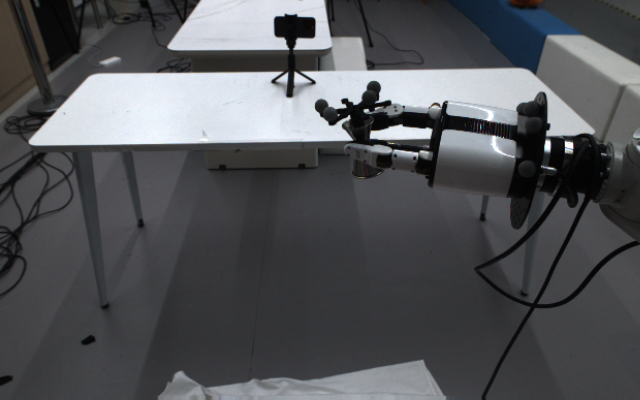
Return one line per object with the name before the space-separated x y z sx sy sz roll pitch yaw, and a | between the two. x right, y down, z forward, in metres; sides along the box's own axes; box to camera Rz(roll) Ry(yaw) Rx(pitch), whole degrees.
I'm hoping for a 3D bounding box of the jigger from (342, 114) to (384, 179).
jigger | 0.055 -0.066 0.608 0.043 0.071 0.043 -12 29 7
